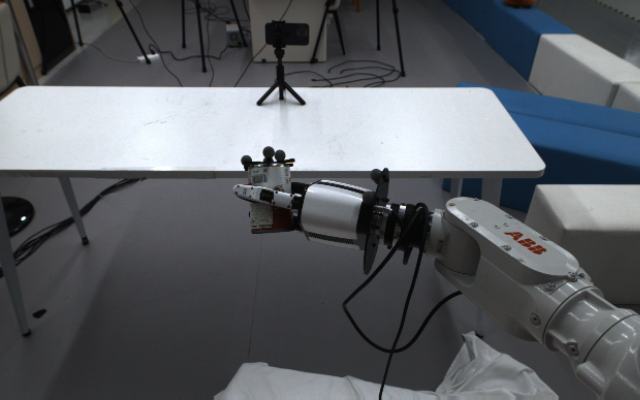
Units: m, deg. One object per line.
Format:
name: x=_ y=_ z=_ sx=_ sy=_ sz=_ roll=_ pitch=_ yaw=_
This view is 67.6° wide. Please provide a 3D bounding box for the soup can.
soup can: x=-0.075 y=0.000 z=0.743 sx=0.067 sy=0.101 sz=0.067 roll=-5 pitch=-5 yaw=0
